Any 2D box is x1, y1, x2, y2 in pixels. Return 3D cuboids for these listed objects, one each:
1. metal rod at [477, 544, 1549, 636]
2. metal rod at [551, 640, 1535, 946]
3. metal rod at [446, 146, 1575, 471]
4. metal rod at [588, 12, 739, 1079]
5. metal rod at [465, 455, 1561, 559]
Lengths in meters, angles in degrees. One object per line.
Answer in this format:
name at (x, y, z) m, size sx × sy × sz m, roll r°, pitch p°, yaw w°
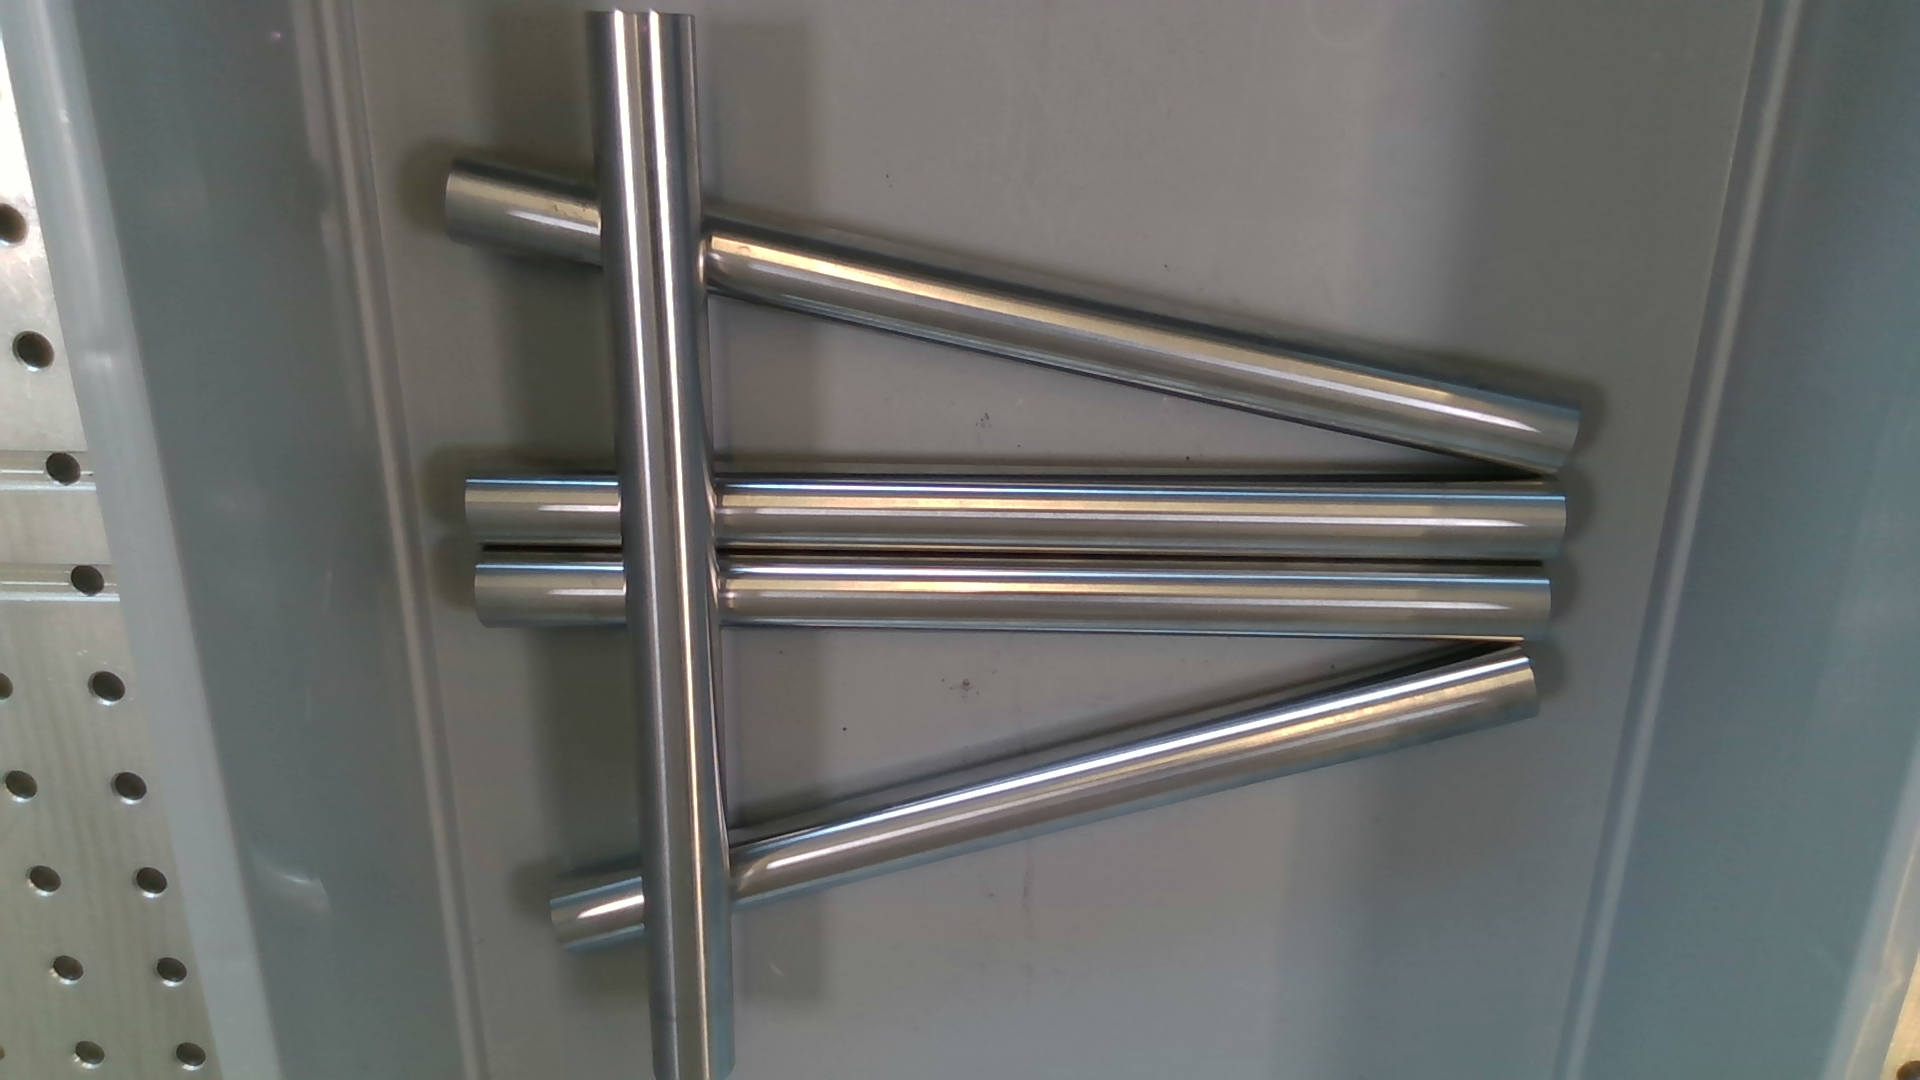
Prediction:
metal rod at (0.015, 0.014, 0.398) m, size 0.300 × 0.025 × 0.025 m, roll 1°, pitch 110°, yaw 0°
metal rod at (0.021, 0.077, 0.421) m, size 0.300 × 0.025 × 0.025 m, roll -15°, pitch 109°, yaw 5°
metal rod at (0.017, -0.061, 0.370) m, size 0.300 × 0.025 × 0.025 m, roll 11°, pitch 110°, yaw -4°
metal rod at (-0.077, 0.019, 0.372) m, size 0.025 × 0.025 × 0.301 m, roll 1°, pitch 110°, yaw 0°
metal rod at (0.015, -0.009, 0.389) m, size 0.300 × 0.025 × 0.025 m, roll 1°, pitch 110°, yaw 0°
